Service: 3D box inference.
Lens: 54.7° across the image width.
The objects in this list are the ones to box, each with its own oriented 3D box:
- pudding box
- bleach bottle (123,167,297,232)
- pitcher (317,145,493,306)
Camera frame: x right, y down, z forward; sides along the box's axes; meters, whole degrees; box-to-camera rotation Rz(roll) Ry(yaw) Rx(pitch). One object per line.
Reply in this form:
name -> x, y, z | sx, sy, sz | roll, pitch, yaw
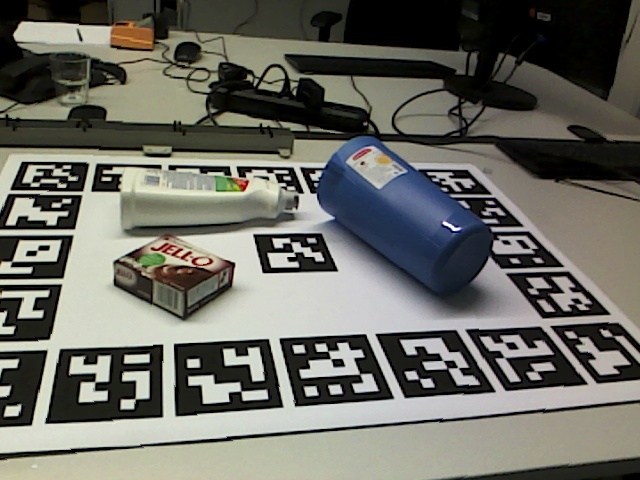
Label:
pudding box -> -0.178, 0.039, 0.746 | 0.114, 0.038, 0.089 | 26, 29, 24
bleach bottle -> -0.155, -0.060, 0.900 | 0.250, 0.068, 0.103 | 0, 36, -17
pitcher -> 0.121, -0.017, 0.865 | 0.244, 0.133, 0.187 | 44, 12, 37
